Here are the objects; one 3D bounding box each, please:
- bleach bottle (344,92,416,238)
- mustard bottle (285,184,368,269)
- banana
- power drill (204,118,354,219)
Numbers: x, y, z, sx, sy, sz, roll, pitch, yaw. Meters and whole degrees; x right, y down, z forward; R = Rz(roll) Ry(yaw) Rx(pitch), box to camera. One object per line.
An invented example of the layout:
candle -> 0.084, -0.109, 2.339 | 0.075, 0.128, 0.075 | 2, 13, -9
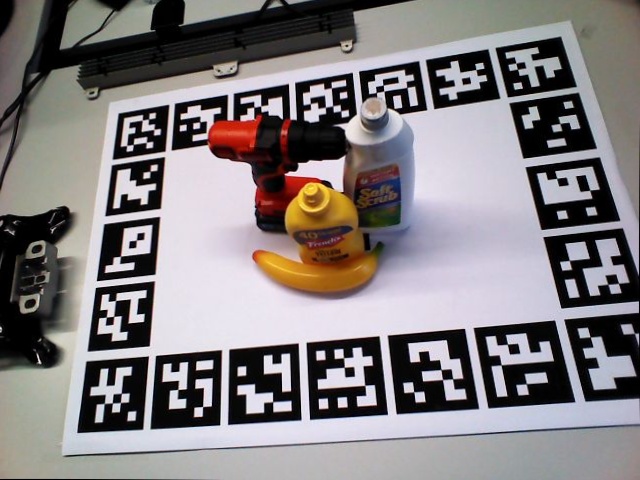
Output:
bleach bottle -> 0.069, -0.090, 0.652 | 0.103, 0.251, 0.067 | -4, 62, 10
mustard bottle -> 0.007, -0.020, 0.663 | 0.096, 0.192, 0.058 | -6, 67, 8
banana -> 0.004, 0.042, 0.733 | 0.198, 0.039, 0.074 | -3, 69, 13
power drill -> -0.040, -0.088, 0.678 | 0.185, 0.187, 0.057 | 5, 68, 12
